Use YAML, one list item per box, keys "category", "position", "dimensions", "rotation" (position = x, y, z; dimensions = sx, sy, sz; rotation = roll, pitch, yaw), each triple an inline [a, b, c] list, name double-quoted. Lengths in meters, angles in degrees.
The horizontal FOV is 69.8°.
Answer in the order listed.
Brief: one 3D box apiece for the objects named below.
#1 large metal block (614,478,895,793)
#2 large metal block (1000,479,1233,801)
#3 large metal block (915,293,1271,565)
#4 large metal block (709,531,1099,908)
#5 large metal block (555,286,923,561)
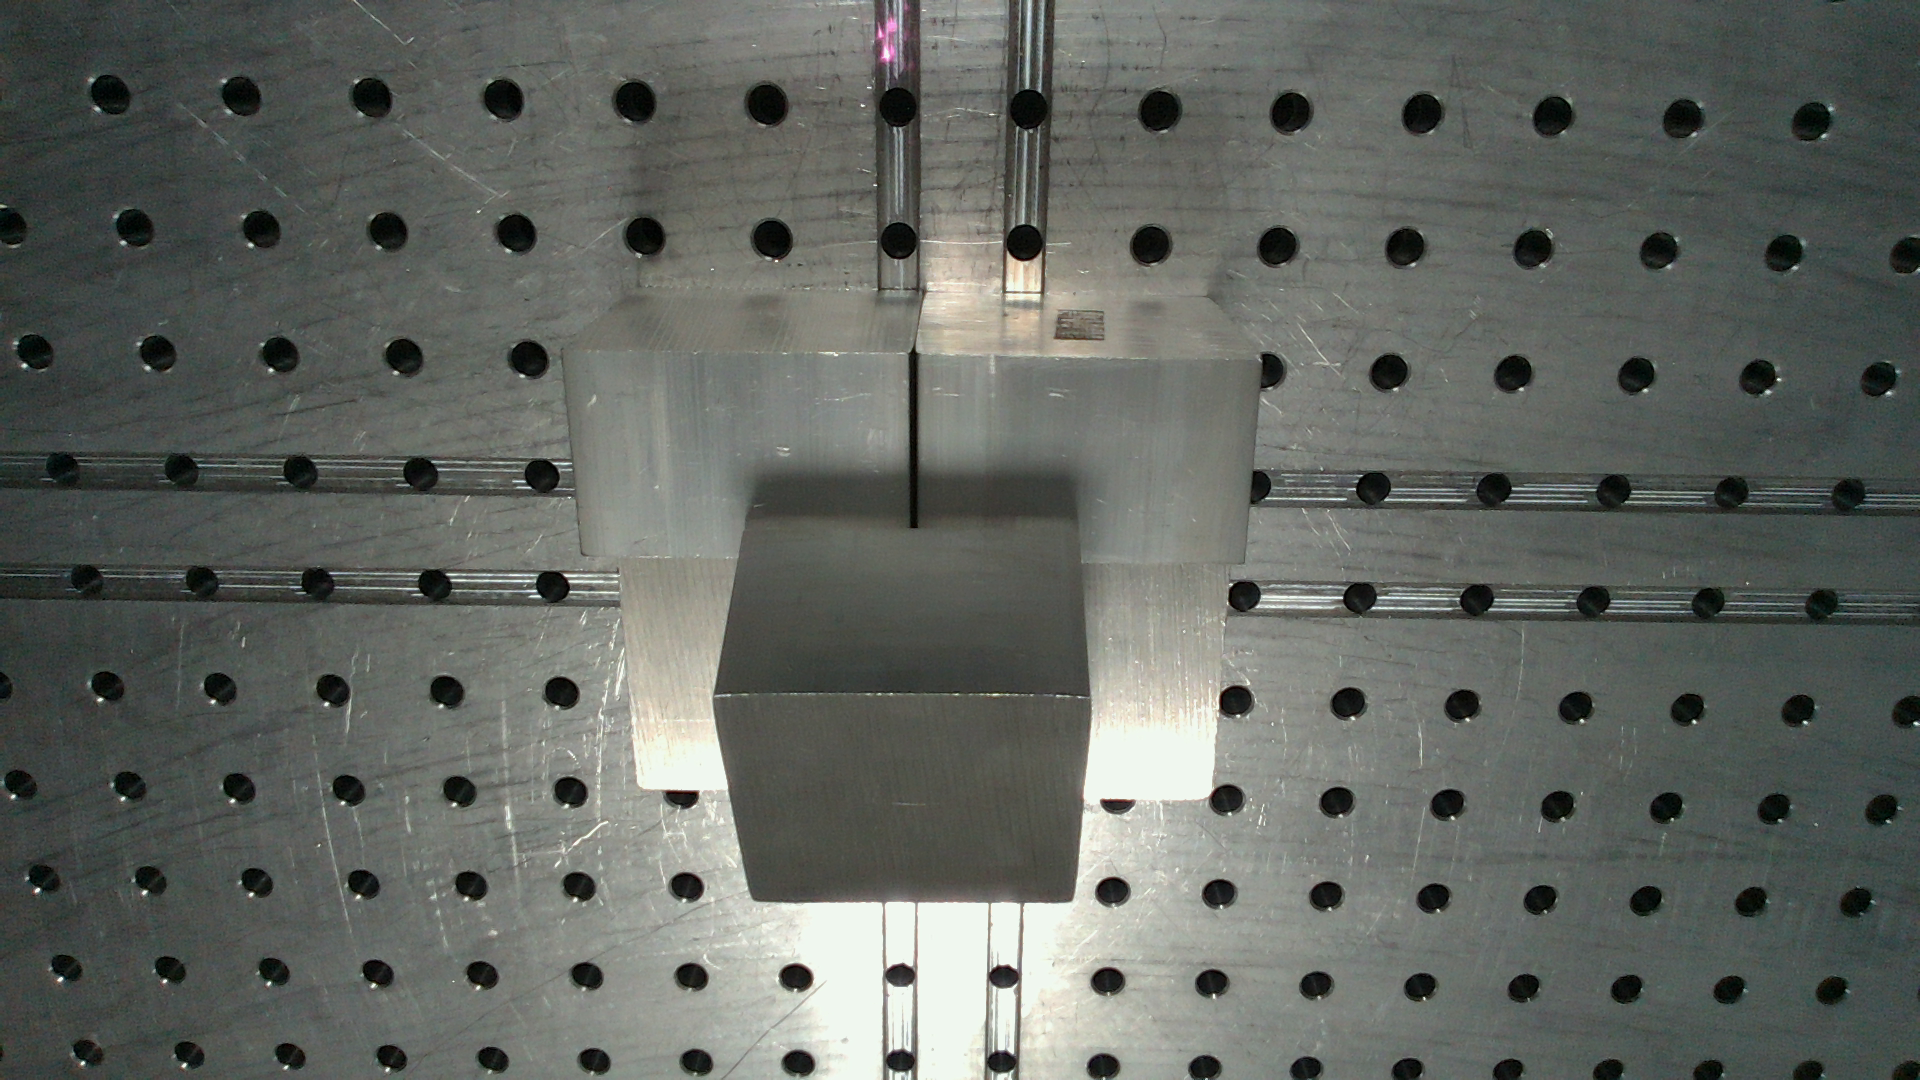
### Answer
- category: "large metal block"
  position: [-0.050, 0.024, 0.390]
  dimensions: [0.080, 0.050, 0.080]
  rotation: [1, 110, 0]
- category: "large metal block"
  position: [0.031, 0.025, 0.390]
  dimensions: [0.080, 0.050, 0.080]
  rotation: [1, 110, 0]
- category: "large metal block"
  position: [0.030, -0.032, 0.354]
  dimensions: [0.080, 0.080, 0.050]
  rotation: [1, 110, 0]
- category: "large metal block"
  position: [-0.011, 0.044, 0.328]
  dimensions: [0.080, 0.050, 0.080]
  rotation: [0, 134, 0]
- category: "large metal block"
  position: [-0.051, -0.033, 0.354]
  dimensions: [0.080, 0.080, 0.050]
  rotation: [1, 110, 0]
